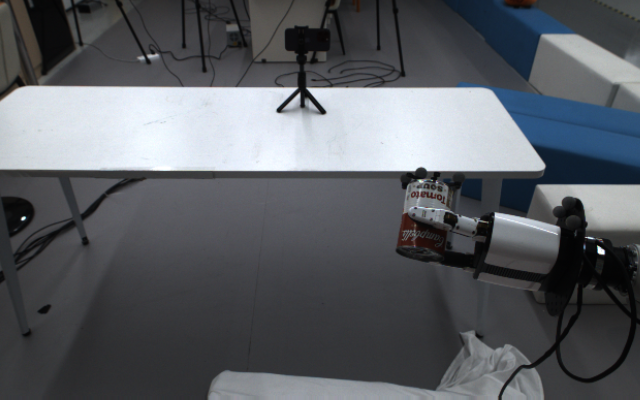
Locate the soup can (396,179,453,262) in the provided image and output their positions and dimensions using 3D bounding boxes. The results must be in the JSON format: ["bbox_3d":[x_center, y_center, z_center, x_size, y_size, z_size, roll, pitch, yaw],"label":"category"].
[{"bbox_3d":[0.150,0.027,0.686,0.067,0.067,0.101,9,72,10],"label":"soup can"}]
